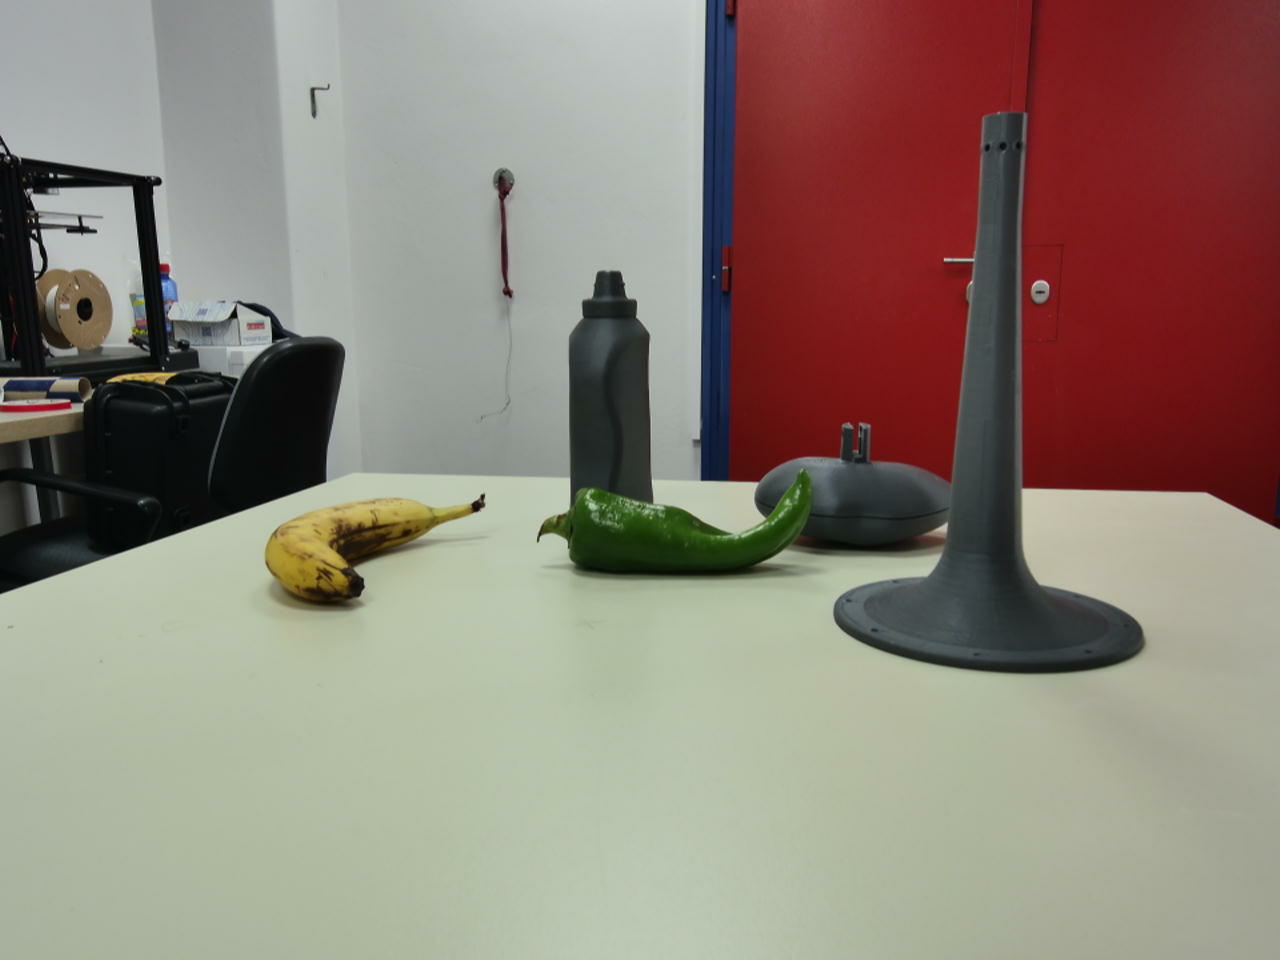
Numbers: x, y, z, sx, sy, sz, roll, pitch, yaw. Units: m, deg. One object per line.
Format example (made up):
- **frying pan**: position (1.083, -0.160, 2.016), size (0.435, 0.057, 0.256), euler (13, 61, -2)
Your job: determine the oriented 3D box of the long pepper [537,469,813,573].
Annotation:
- **long pepper**: position (0.020, 0.025, 0.632), size (0.175, 0.065, 0.058), euler (1, 8, 10)
